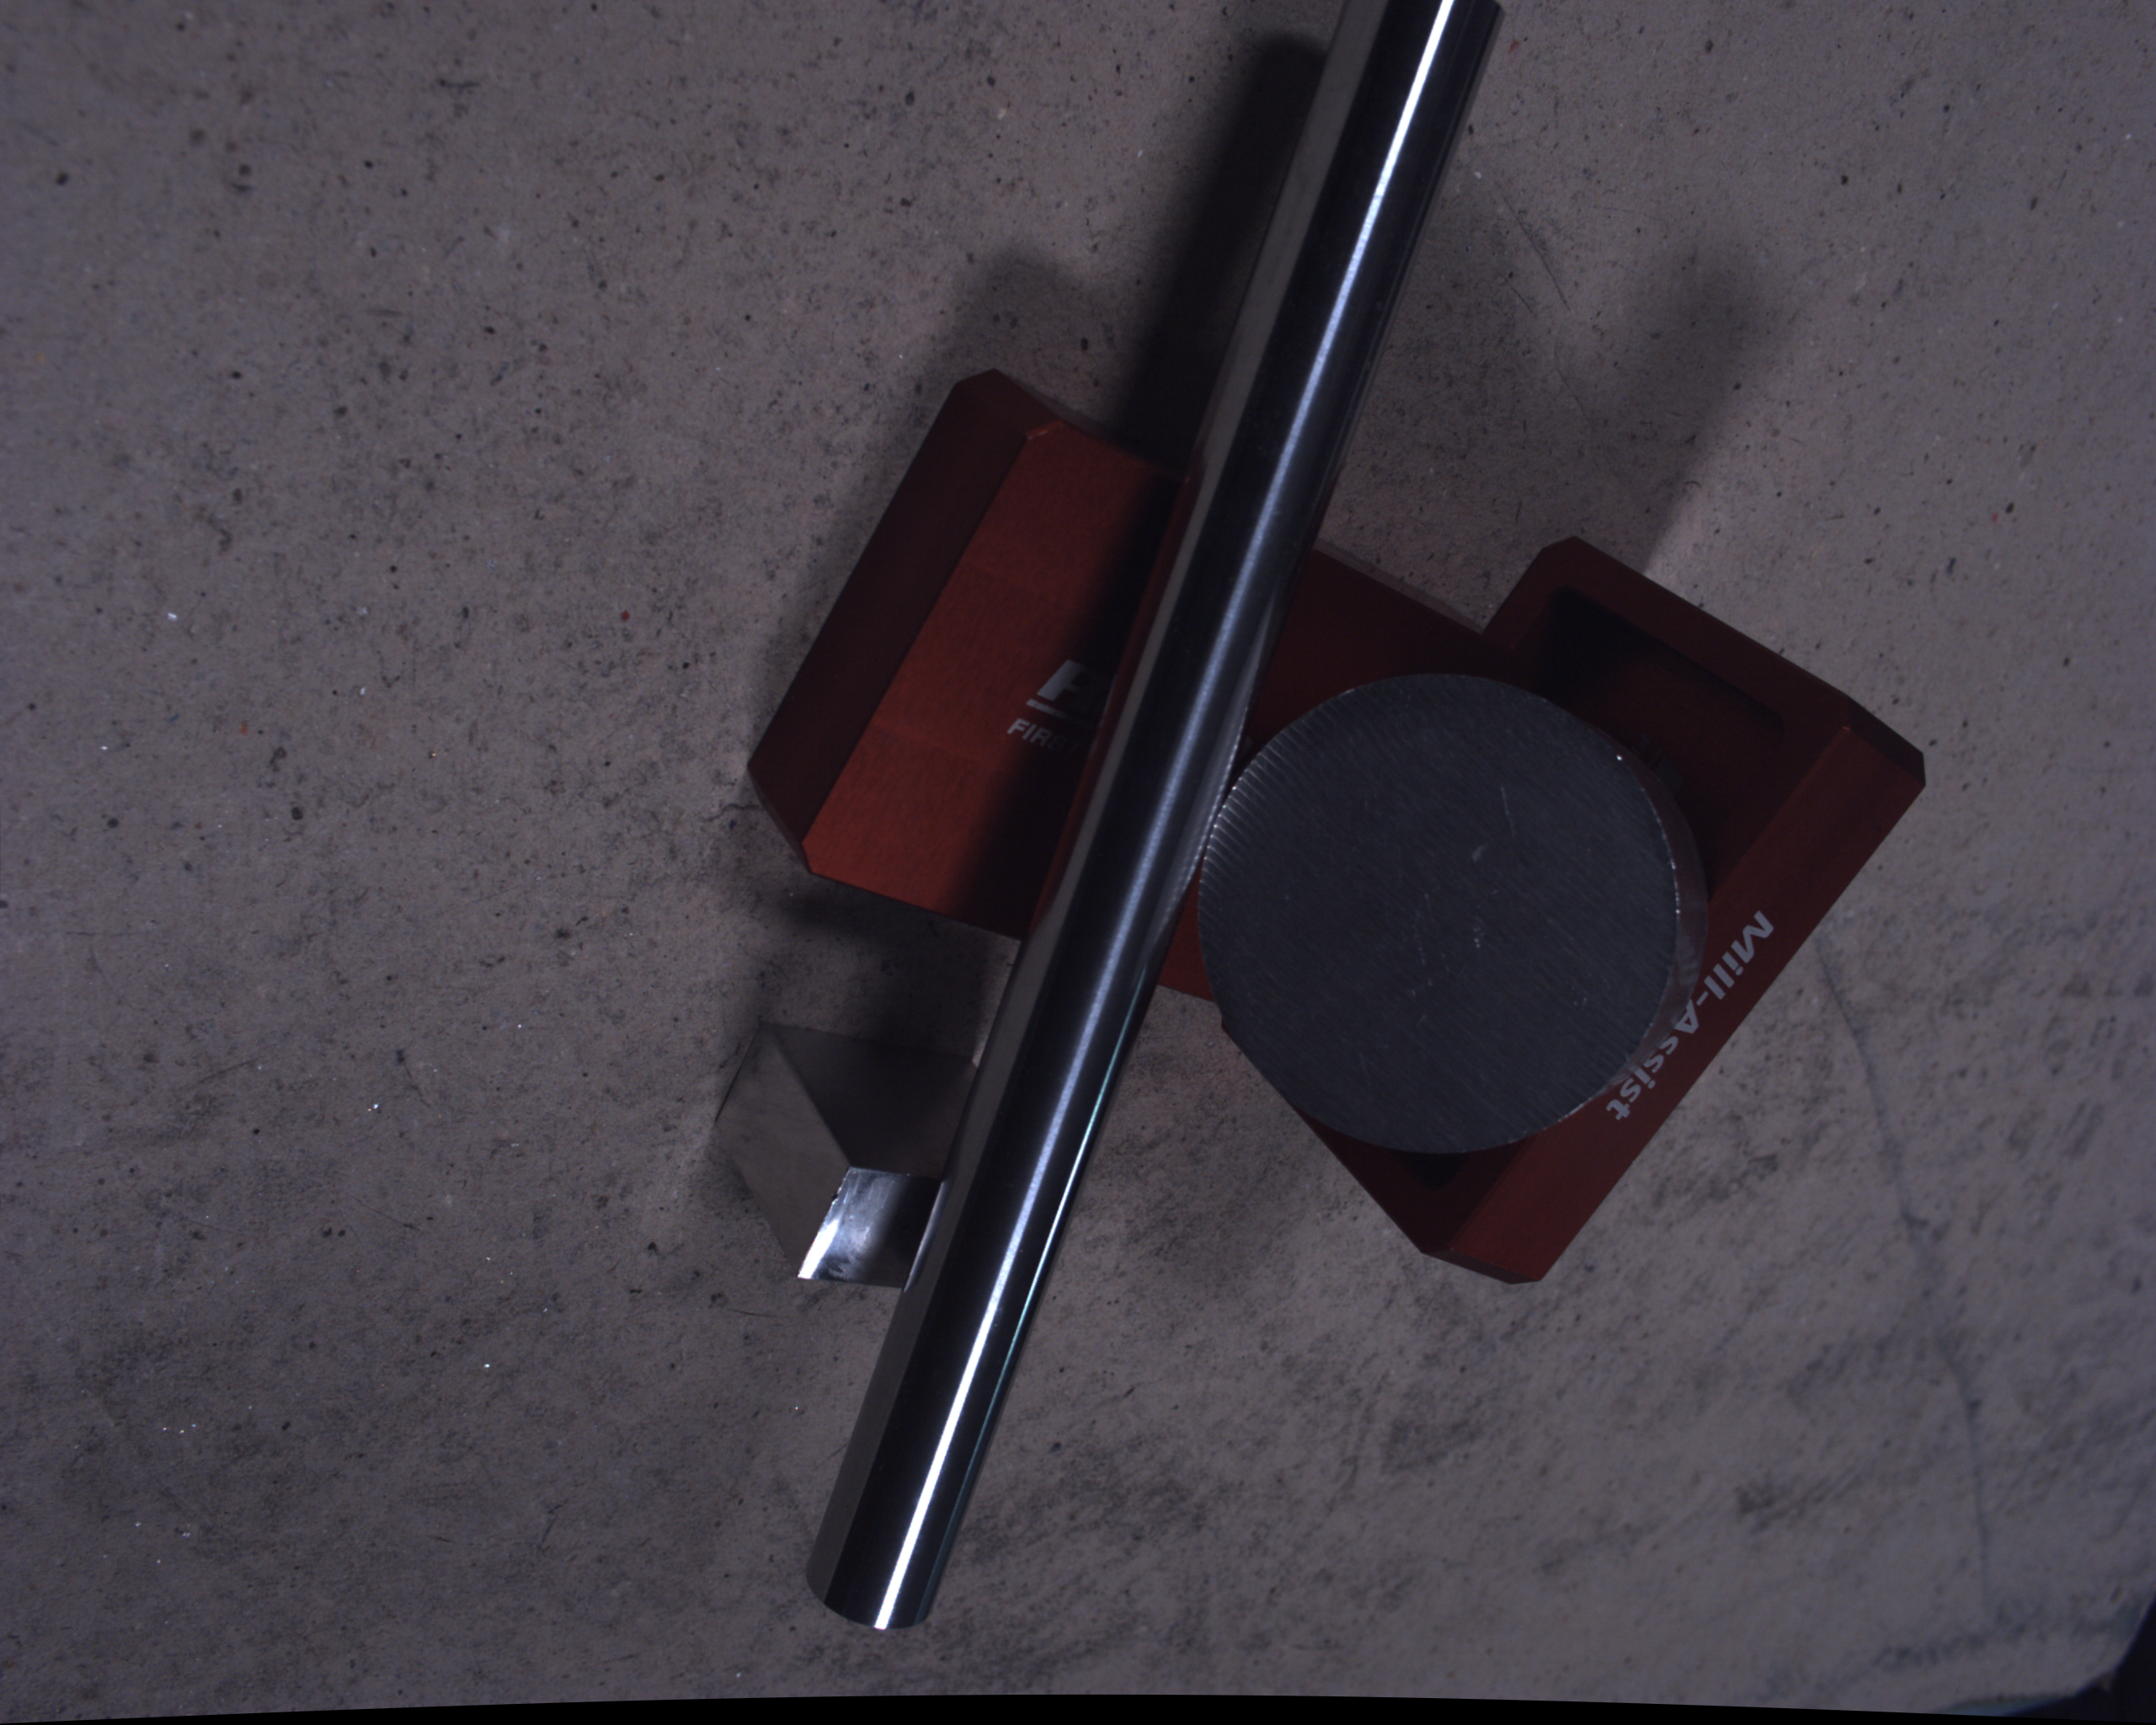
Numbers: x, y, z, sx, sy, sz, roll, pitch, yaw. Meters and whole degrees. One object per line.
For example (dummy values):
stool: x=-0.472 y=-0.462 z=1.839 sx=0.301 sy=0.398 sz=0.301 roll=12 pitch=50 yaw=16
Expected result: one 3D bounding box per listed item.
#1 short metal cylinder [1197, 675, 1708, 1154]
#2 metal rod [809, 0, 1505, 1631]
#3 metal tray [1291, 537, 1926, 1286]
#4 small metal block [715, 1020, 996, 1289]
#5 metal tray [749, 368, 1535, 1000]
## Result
short metal cylinder: x=0.067 y=0.009 z=0.369 sx=0.080 sy=0.080 sz=0.050 roll=-56 pitch=161 yaw=11
metal rod: x=0.009 y=-0.001 z=0.363 sx=0.025 sy=0.025 sz=0.298 roll=11 pitch=104 yaw=-34
metal tray: x=0.095 y=0.008 z=0.425 sx=0.030 sy=0.090 sz=0.129 roll=26 pitch=104 yaw=-37
small metal block: x=-0.037 y=0.058 z=0.409 sx=0.050 sy=0.050 sz=0.025 roll=13 pitch=112 yaw=-34
metal tray: x=0.016 y=-0.026 z=0.398 sx=0.131 sy=0.030 sz=0.090 roll=20 pitch=108 yaw=-36
